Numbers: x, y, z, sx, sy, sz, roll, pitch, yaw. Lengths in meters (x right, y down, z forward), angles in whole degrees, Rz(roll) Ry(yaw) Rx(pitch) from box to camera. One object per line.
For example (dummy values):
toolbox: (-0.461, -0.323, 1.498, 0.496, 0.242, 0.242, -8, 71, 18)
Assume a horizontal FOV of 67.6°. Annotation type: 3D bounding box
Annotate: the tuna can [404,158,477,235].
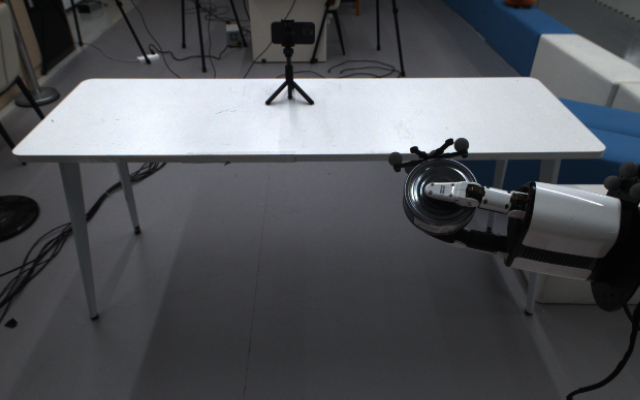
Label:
tuna can: (0.142, -0.008, 0.561, 0.085, 0.034, 0.085, -4, 68, 9)
